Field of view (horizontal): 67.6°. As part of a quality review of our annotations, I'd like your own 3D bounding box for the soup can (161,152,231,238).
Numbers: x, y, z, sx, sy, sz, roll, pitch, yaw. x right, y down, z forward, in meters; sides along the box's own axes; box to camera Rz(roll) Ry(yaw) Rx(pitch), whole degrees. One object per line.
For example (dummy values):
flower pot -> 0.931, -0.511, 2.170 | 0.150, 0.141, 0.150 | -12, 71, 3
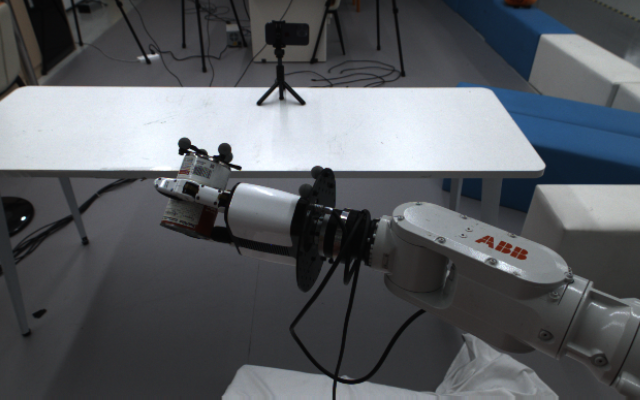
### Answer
soup can -> -0.166, -0.003, 0.653 | 0.067, 0.067, 0.101 | 13, 77, 15
